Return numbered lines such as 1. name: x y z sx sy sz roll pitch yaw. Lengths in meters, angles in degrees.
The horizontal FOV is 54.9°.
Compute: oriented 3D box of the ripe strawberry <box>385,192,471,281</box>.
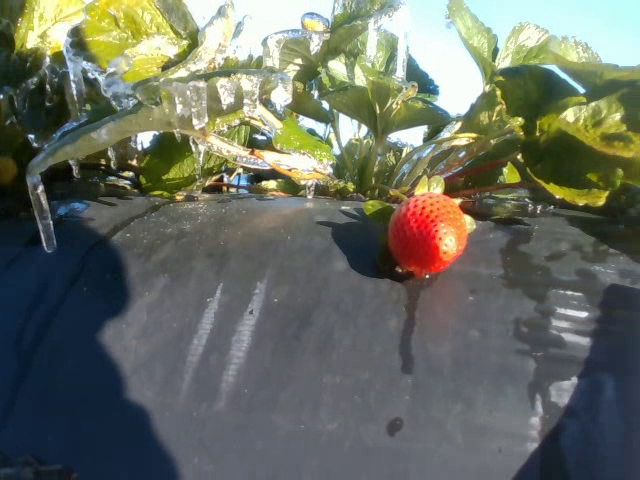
1. ripe strawberry: 0.048 -0.001 0.263 0.039 0.041 0.053 -5 16 5
